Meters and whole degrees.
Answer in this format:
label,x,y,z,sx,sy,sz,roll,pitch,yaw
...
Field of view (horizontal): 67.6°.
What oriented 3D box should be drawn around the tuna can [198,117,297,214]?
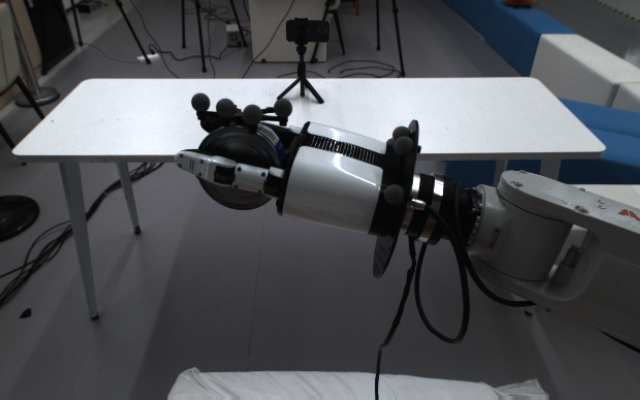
label,x,y,z,sx,sy,sz,roll,pitch,yaw
tuna can,-0.073,-0.035,0.480,0.085,0.085,0.034,6,22,6
